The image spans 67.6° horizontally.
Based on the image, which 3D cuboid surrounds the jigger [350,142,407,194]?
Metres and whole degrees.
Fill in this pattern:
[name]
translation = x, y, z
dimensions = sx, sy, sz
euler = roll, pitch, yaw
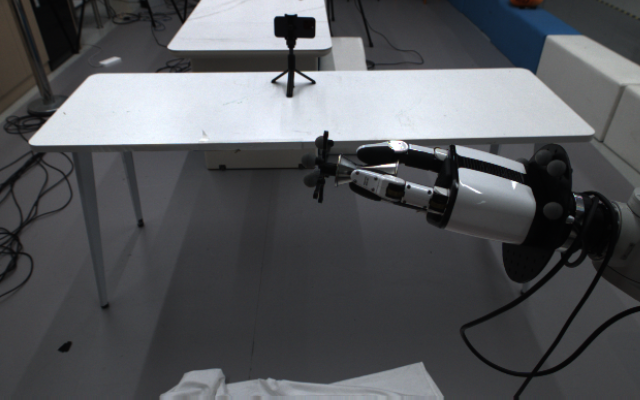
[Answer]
[jigger]
translation = 0.061, -0.035, 0.561
dimensions = 0.071, 0.043, 0.043
euler = 7, 35, 8
